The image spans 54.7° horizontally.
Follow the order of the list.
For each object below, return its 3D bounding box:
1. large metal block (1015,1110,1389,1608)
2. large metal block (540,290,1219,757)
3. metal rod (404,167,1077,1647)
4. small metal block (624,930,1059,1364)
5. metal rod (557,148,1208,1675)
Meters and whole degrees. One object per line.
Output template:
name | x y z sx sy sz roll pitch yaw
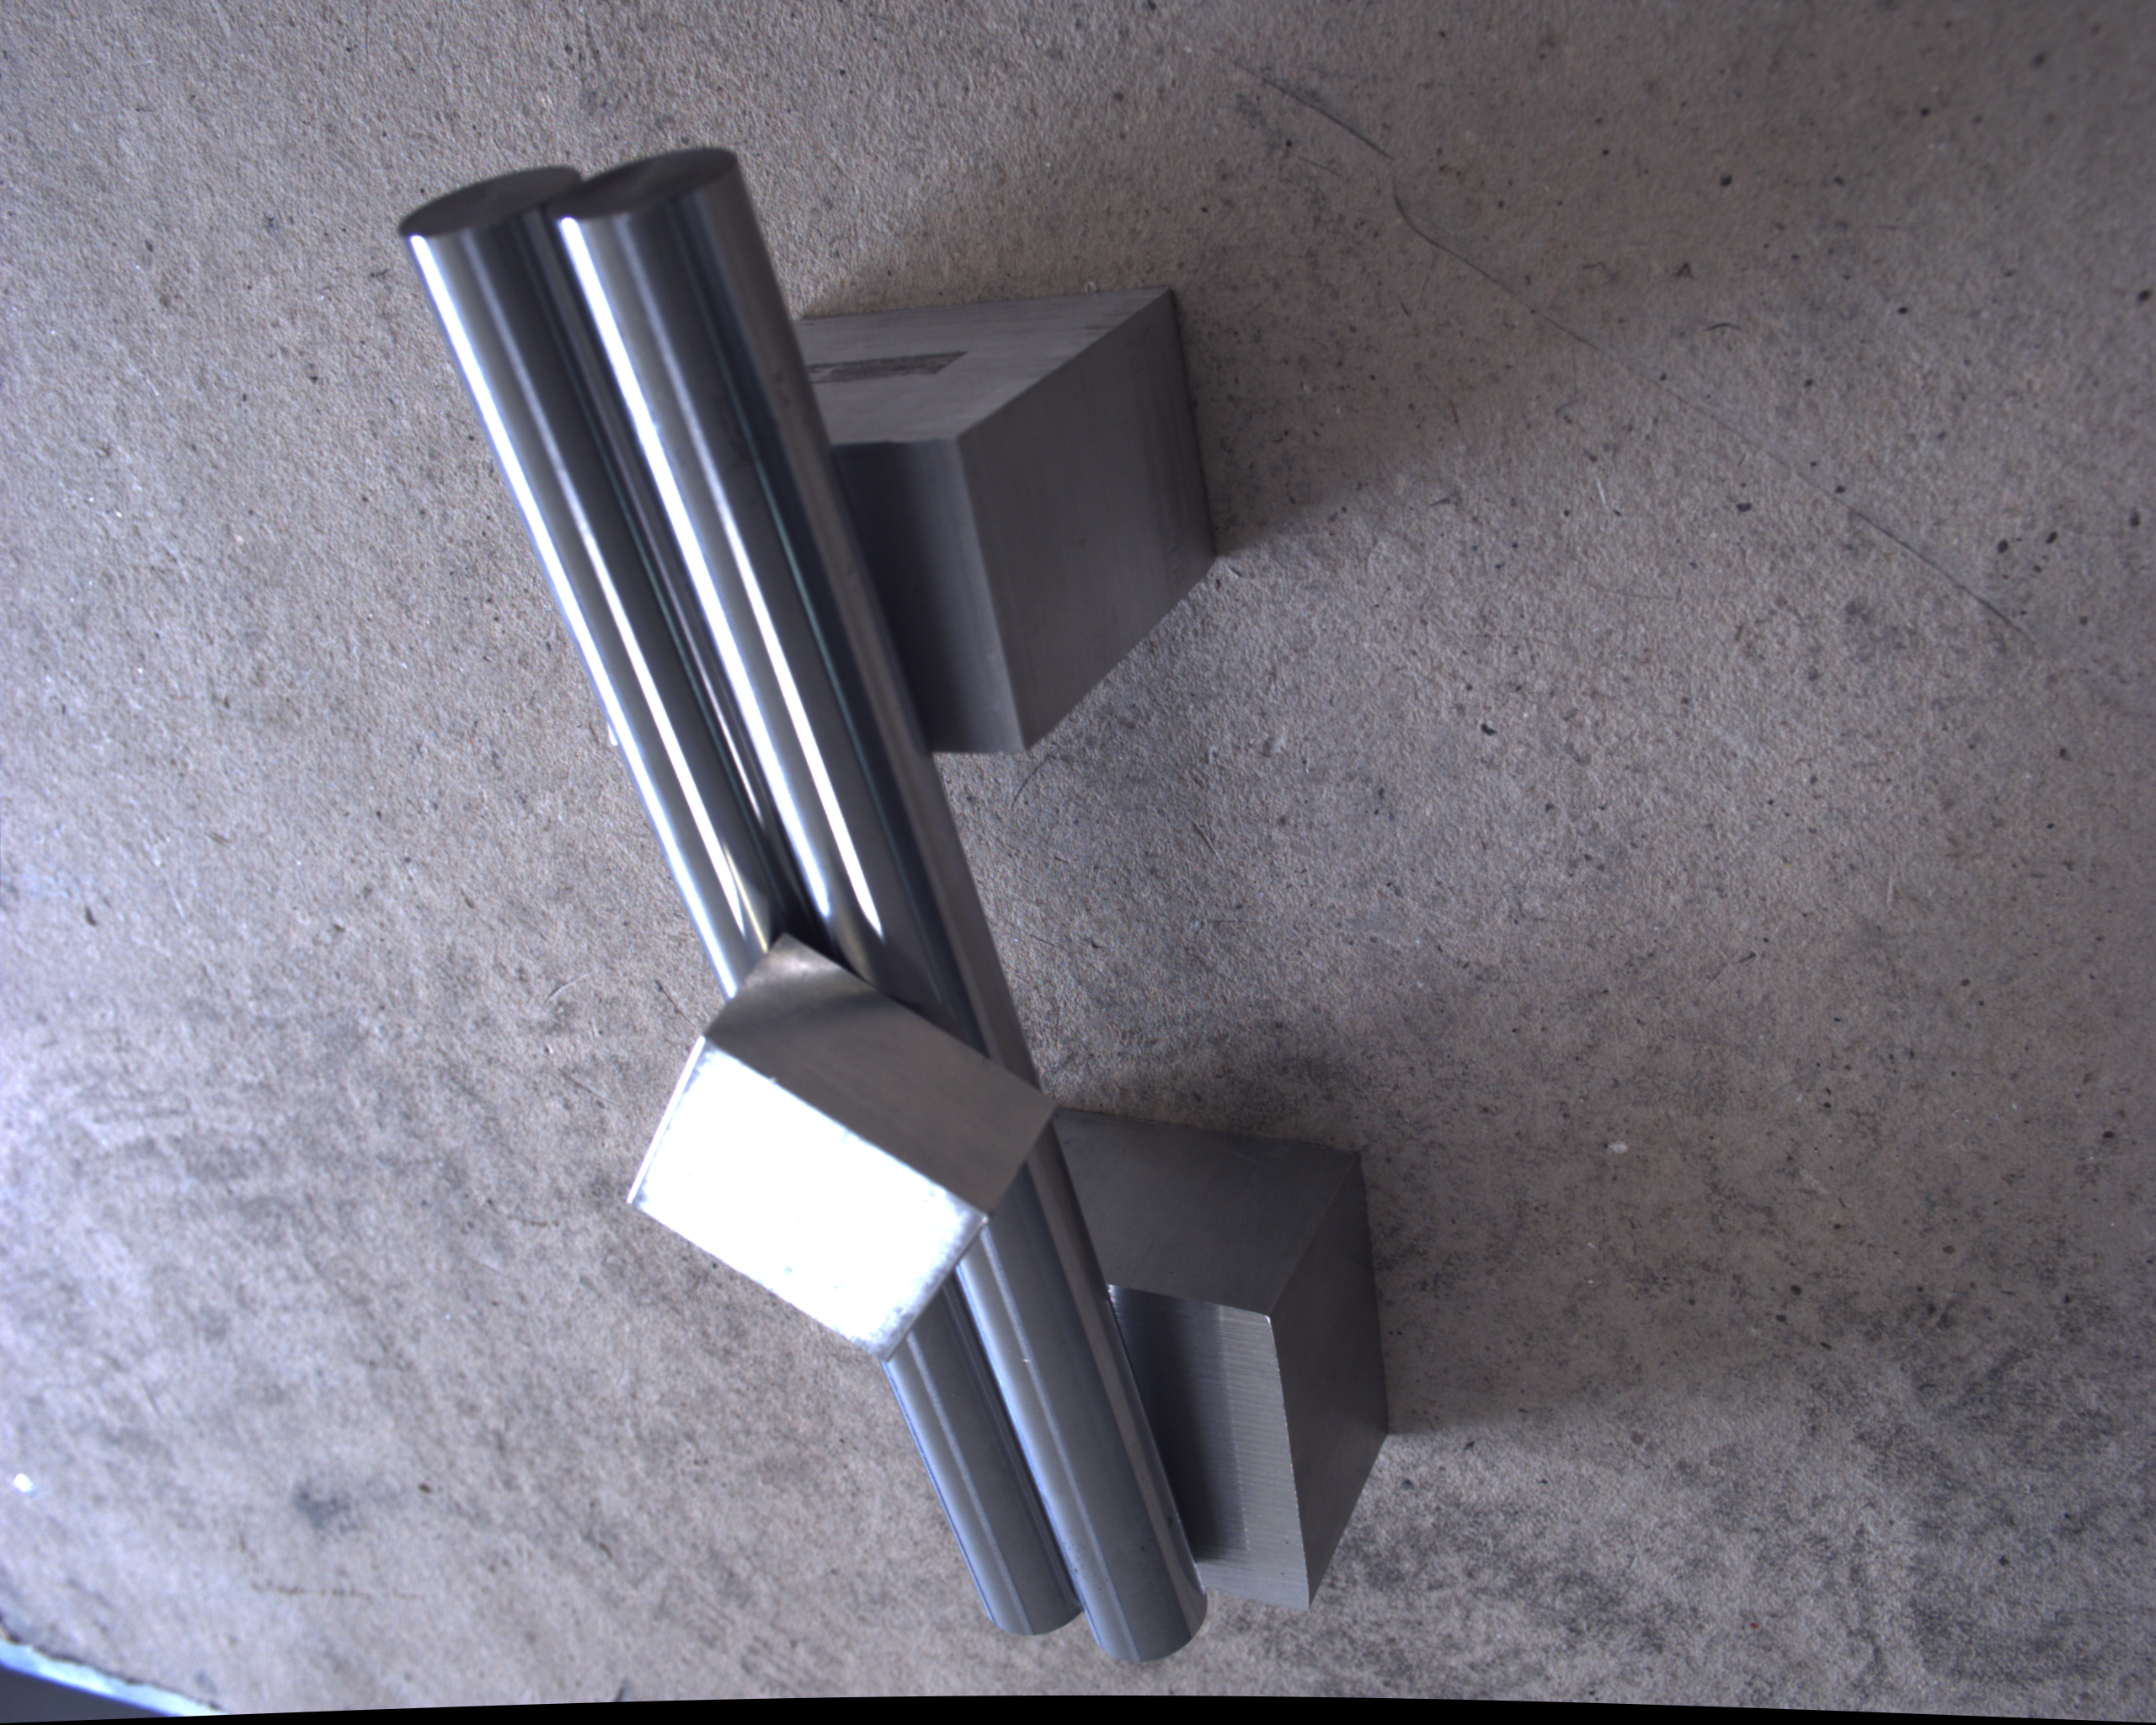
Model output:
large metal block | 0.017 0.103 0.446 0.080 0.050 0.079 5 121 25
large metal block | -0.032 -0.059 0.353 0.080 0.080 0.050 3 120 26
metal rod | -0.043 0.033 0.357 0.025 0.025 0.298 3 127 27
small metal block | -0.038 0.046 0.331 0.050 0.025 0.050 32 134 0
metal rod | -0.020 0.034 0.346 0.025 0.025 0.298 3 127 27
